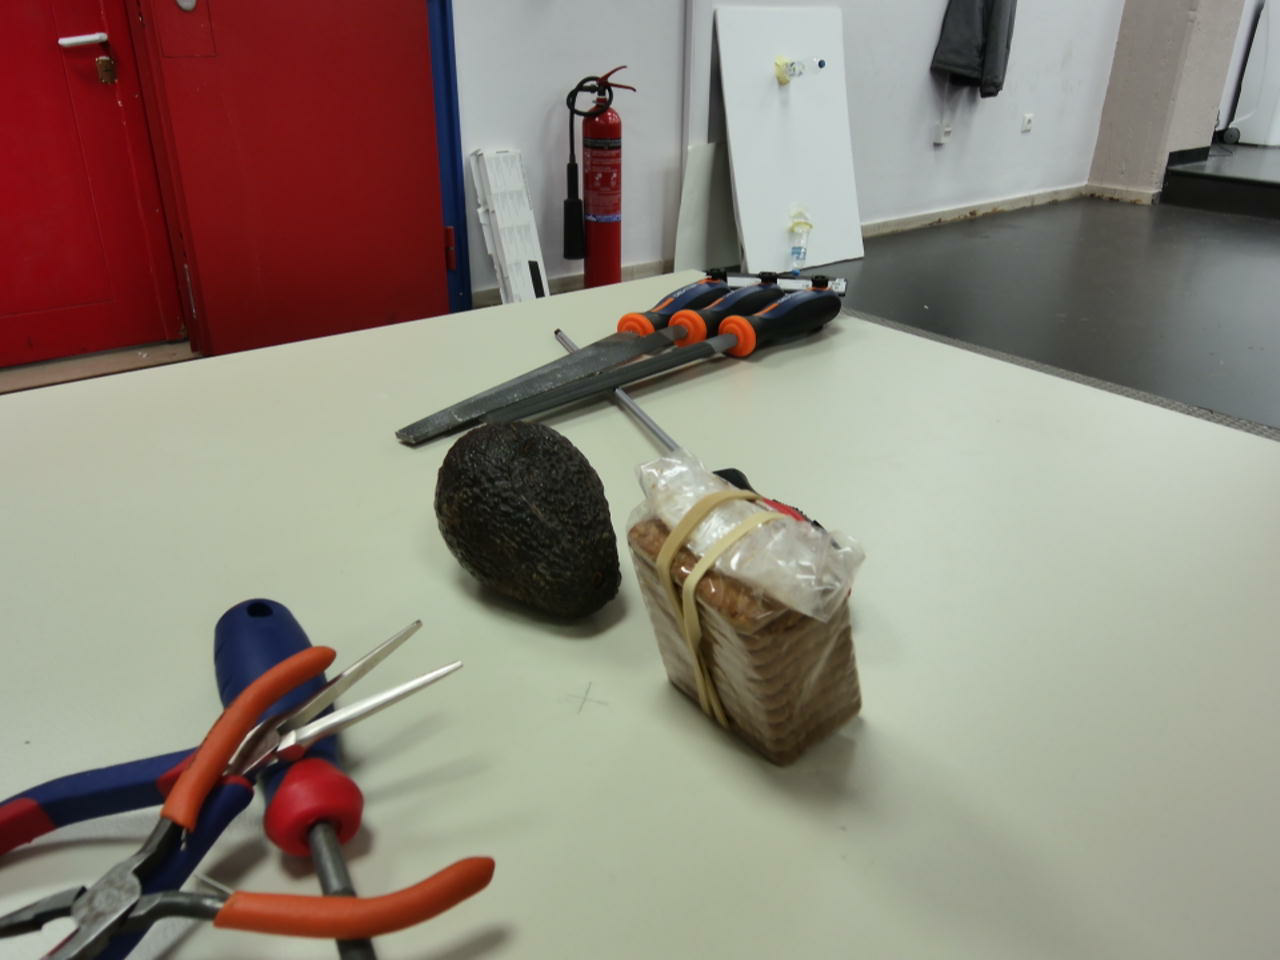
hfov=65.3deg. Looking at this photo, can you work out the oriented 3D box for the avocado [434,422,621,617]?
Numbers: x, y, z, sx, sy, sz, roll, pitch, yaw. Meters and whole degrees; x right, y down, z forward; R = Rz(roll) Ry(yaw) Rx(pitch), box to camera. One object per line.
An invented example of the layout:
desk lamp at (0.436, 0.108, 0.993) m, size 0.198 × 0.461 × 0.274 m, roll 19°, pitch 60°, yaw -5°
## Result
avocado at (-0.048, 0.013, 0.408) m, size 0.070 × 0.069 × 0.090 m, roll -6°, pitch 24°, yaw -13°
